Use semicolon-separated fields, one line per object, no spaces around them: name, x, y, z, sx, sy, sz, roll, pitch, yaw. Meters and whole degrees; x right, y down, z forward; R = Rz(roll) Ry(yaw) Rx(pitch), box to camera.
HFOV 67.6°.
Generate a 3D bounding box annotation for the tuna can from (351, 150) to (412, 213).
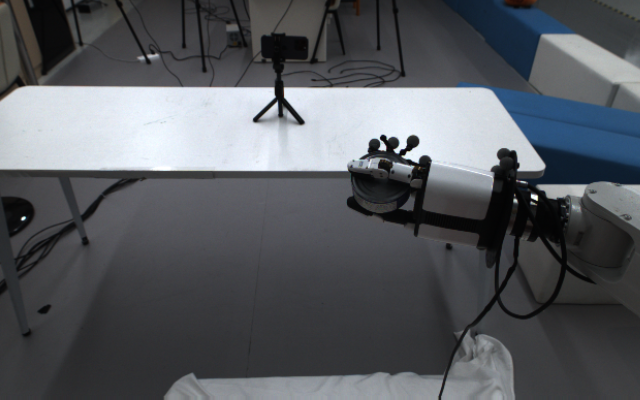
tuna can;0.087;-0.029;0.680;0.085;0.034;0.085;-4;56;6
